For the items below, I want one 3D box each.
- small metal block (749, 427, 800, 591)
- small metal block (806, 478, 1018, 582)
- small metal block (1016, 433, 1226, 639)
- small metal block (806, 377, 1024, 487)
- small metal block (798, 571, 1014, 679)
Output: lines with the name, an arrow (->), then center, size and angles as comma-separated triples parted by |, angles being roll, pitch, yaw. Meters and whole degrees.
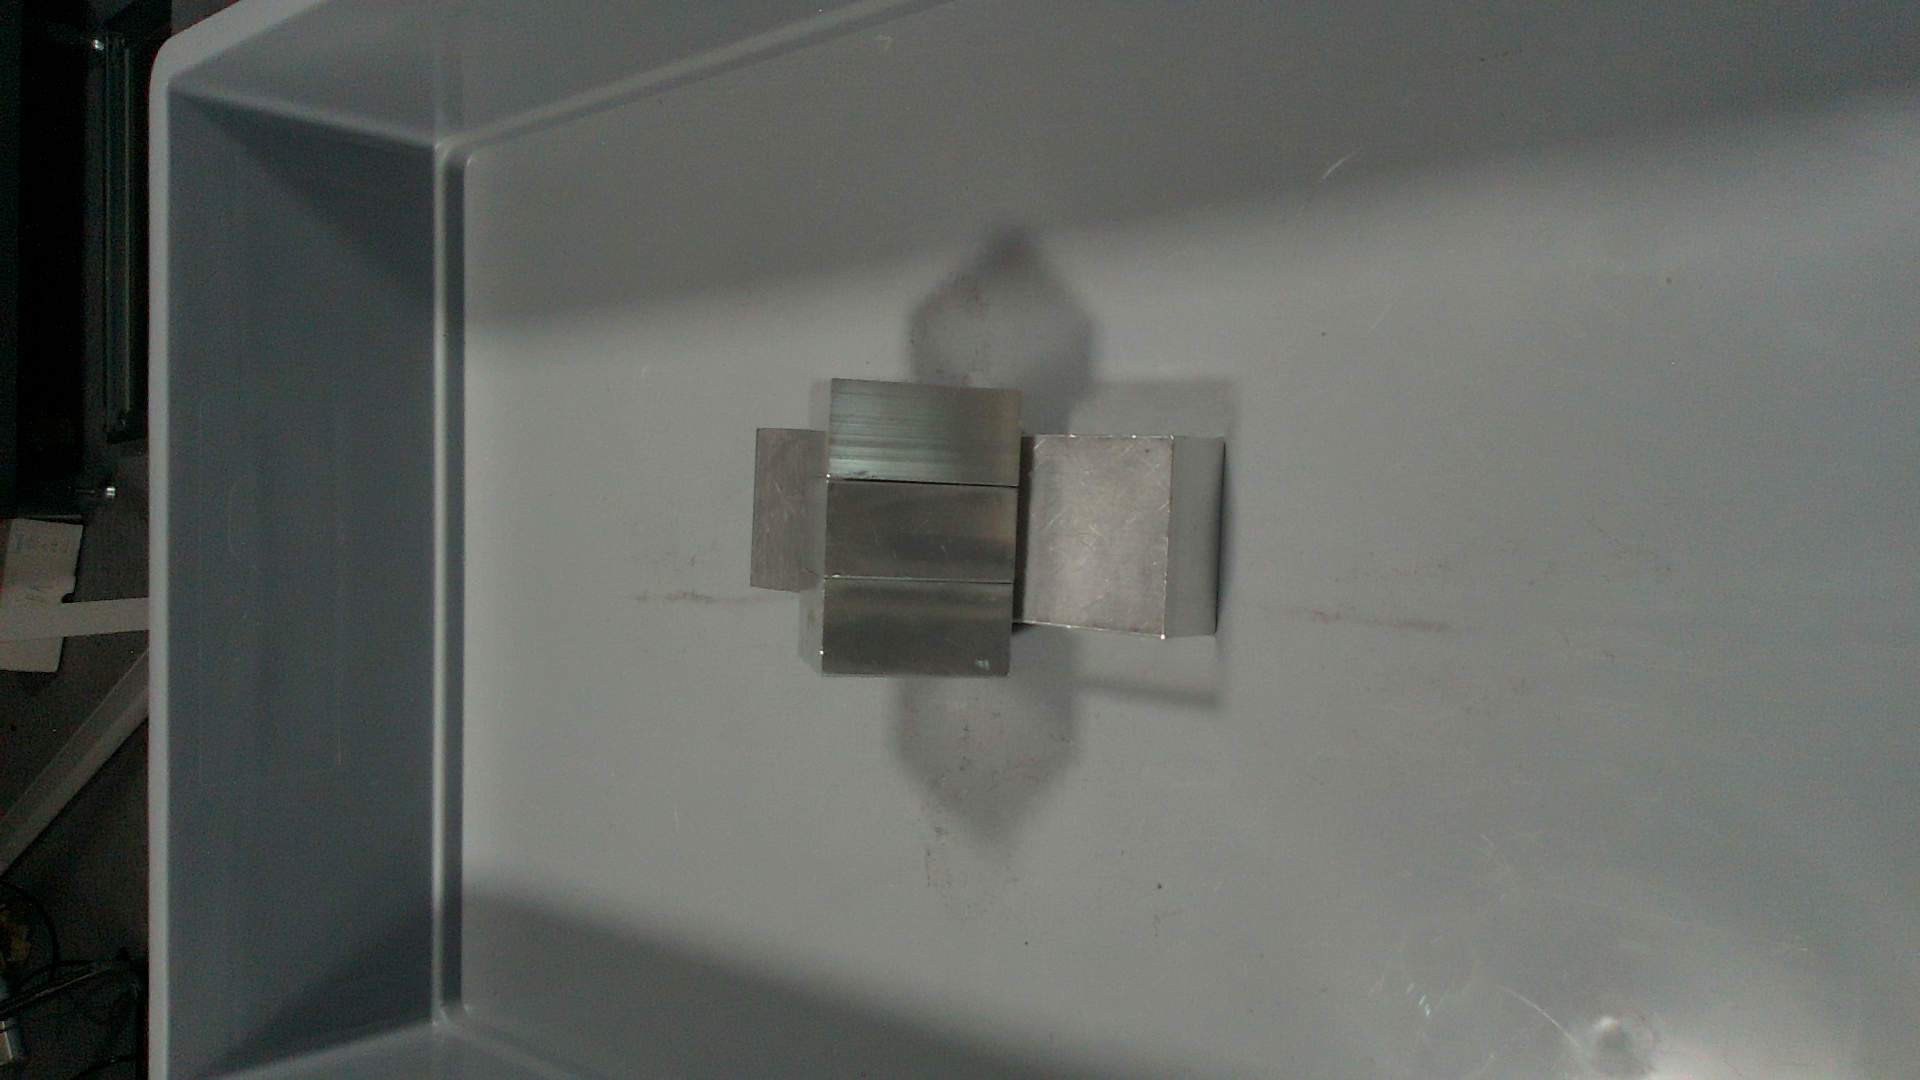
small metal block -> -0.038, -0.009, 0.426 | 0.050, 0.025, 0.050 | 5, 93, 40
small metal block -> -0.015, -0.003, 0.377 | 0.050, 0.050, 0.025 | -173, 85, -76
small metal block -> 0.040, -0.002, 0.360 | 0.050, 0.025, 0.050 | 4, 93, 40
small metal block -> -0.014, -0.028, 0.375 | 0.050, 0.050, 0.025 | -169, 82, -76
small metal block -> -0.016, 0.022, 0.378 | 0.050, 0.050, 0.025 | -173, 85, -76
